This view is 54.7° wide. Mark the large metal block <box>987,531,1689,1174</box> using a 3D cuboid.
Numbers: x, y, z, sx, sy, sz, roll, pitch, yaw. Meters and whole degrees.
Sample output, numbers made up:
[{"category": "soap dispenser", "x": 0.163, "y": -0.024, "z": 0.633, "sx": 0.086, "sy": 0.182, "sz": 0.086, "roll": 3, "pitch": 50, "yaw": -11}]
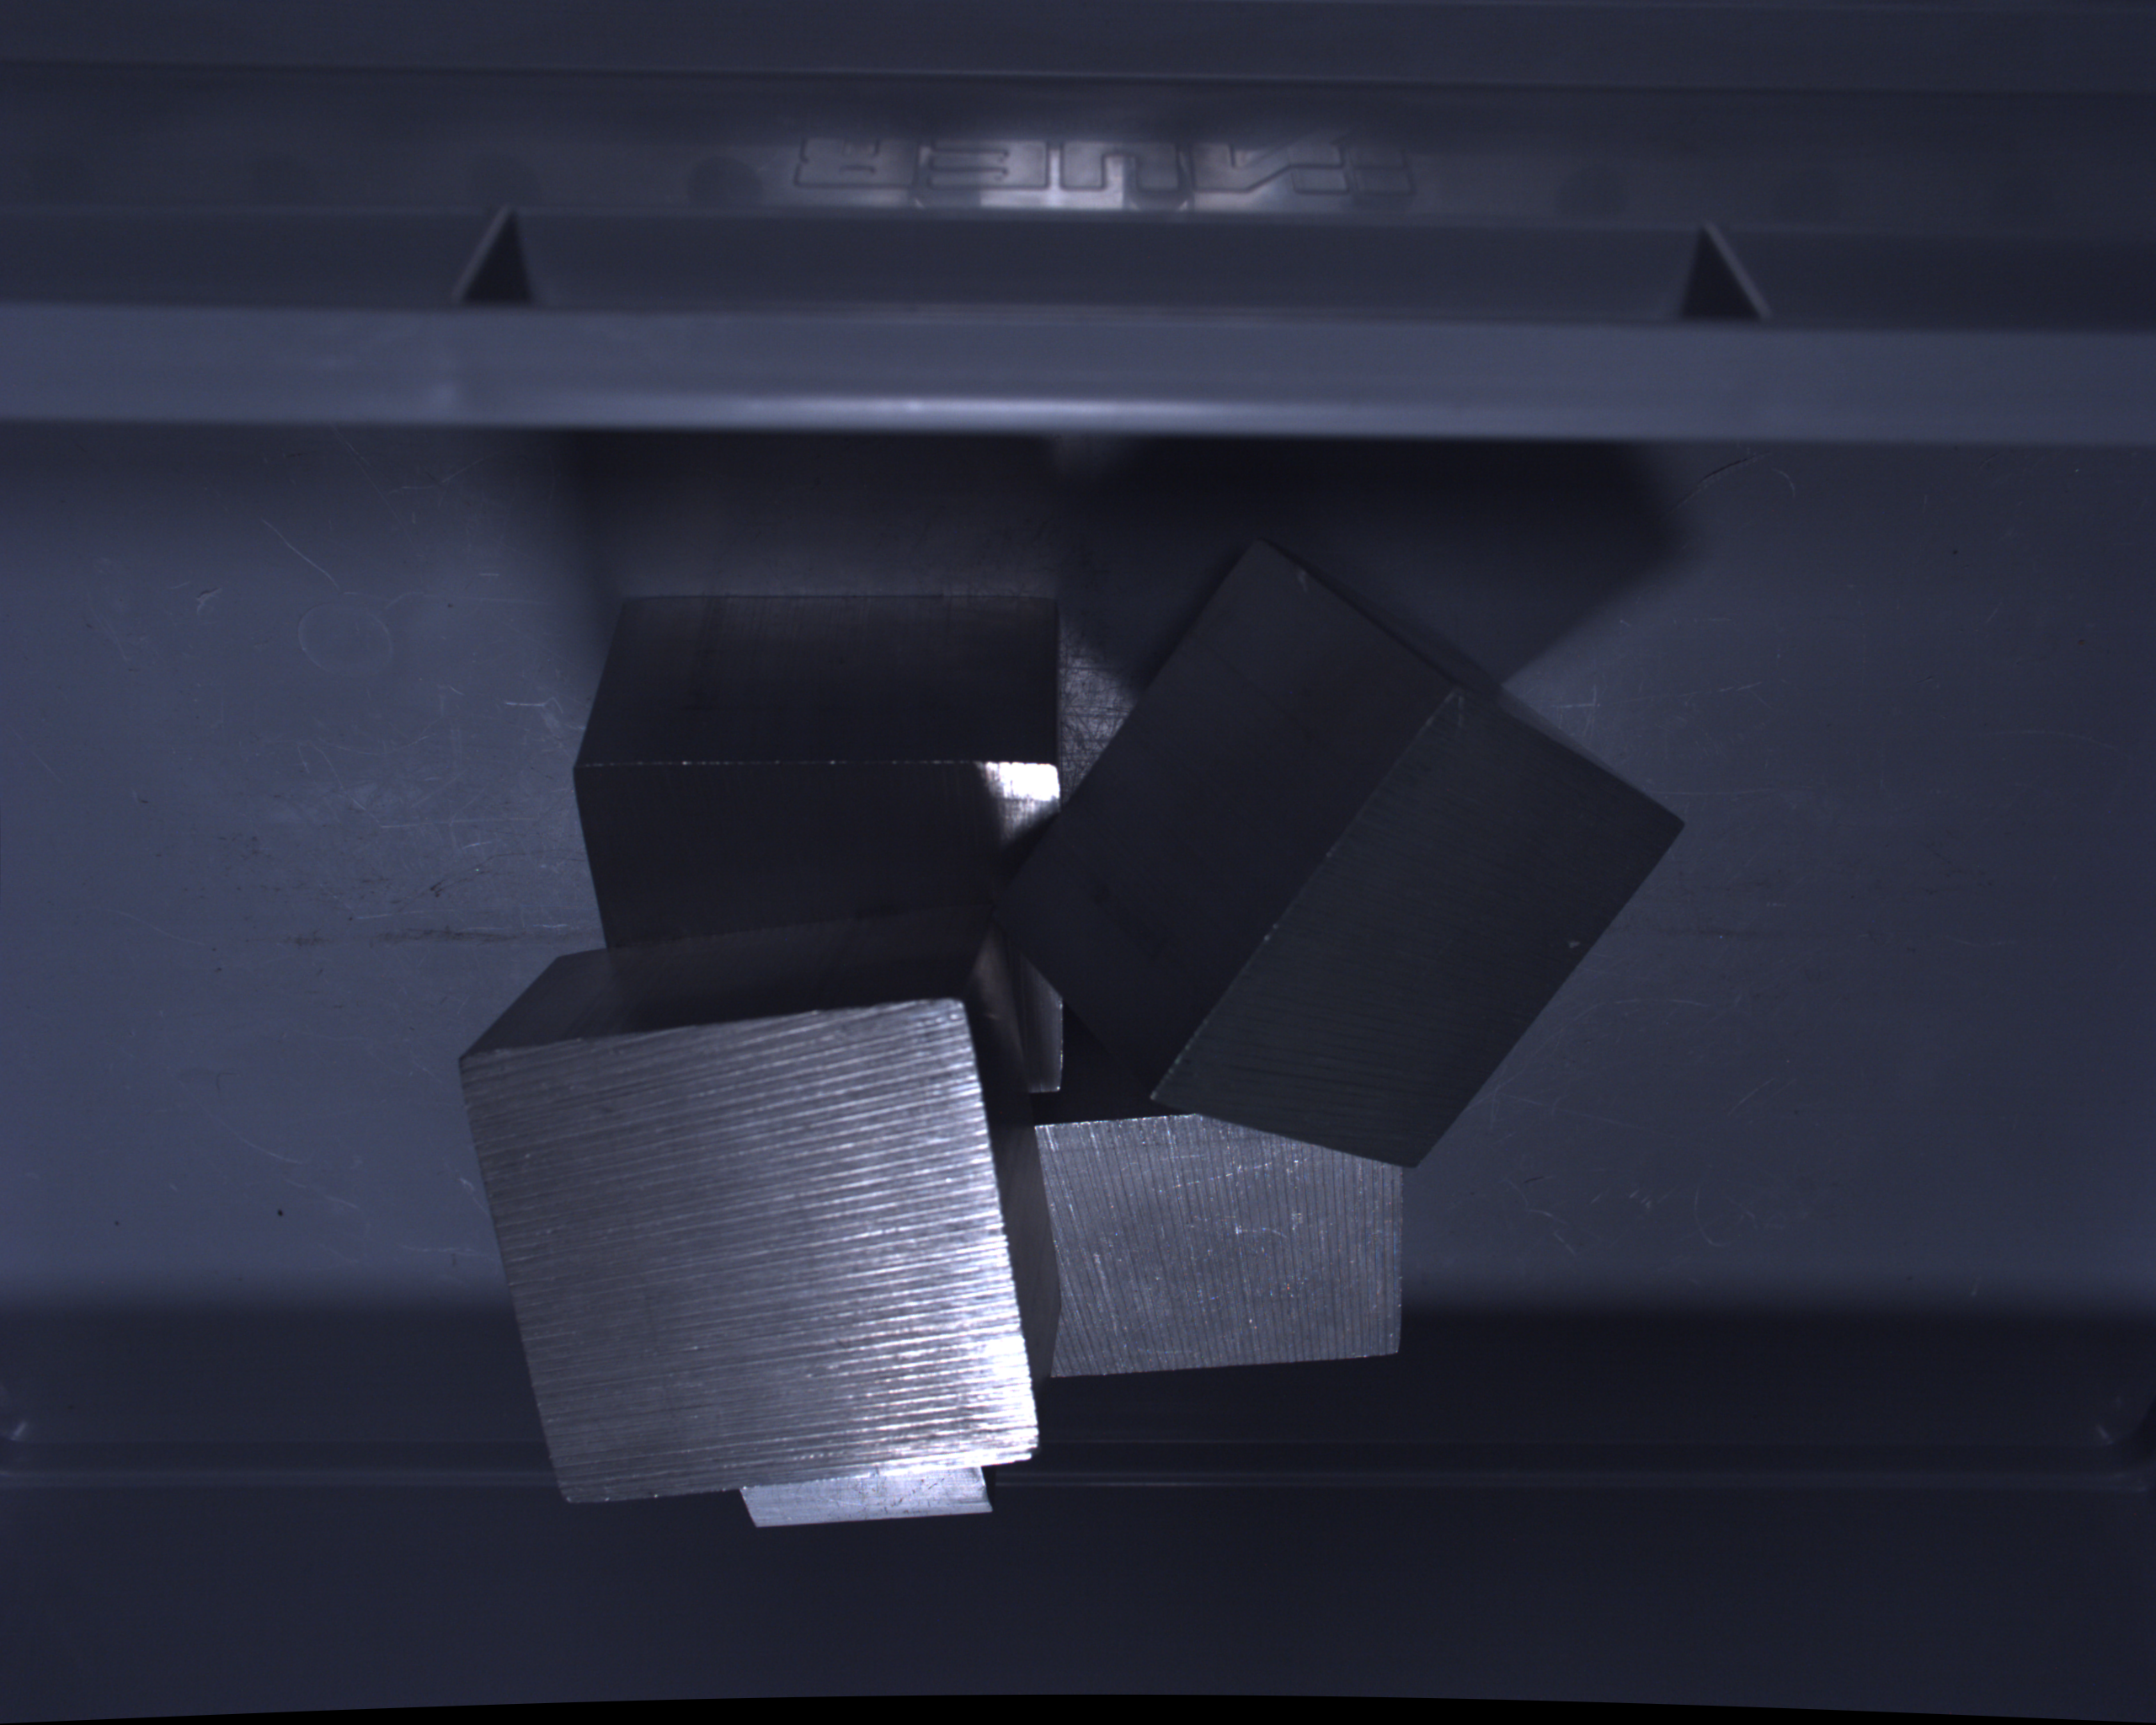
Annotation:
[{"category": "large metal block", "x": 0.045, "y": 0.002, "z": 0.359, "sx": 0.080, "sy": 0.050, "sz": 0.080, "roll": 22, "pitch": 108, "yaw": -47}]

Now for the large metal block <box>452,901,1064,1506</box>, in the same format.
[{"category": "large metal block", "x": -0.049, "y": 0.056, "z": 0.352, "sx": 0.080, "sy": 0.050, "sz": 0.079, "roll": -7, "pitch": 105, "yaw": 6}]

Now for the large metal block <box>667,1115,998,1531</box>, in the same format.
[{"category": "large metal block", "x": -0.047, "y": 0.082, "z": 0.440, "sx": 0.050, "sy": 0.080, "sz": 0.080, "roll": -5, "pitch": 130, "yaw": 4}]

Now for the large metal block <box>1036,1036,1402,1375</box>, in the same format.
[{"category": "large metal block", "x": 0.025, "y": 0.062, "z": 0.441, "sx": 0.080, "sy": 0.050, "sz": 0.080, "roll": -4, "pitch": 130, "yaw": 3}]

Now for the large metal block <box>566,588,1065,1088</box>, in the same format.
[{"category": "large metal block", "x": -0.043, "y": -0.003, "z": 0.388, "sx": 0.081, "sy": 0.050, "sz": 0.079, "roll": -1, "pitch": 130, "yaw": 0}]
